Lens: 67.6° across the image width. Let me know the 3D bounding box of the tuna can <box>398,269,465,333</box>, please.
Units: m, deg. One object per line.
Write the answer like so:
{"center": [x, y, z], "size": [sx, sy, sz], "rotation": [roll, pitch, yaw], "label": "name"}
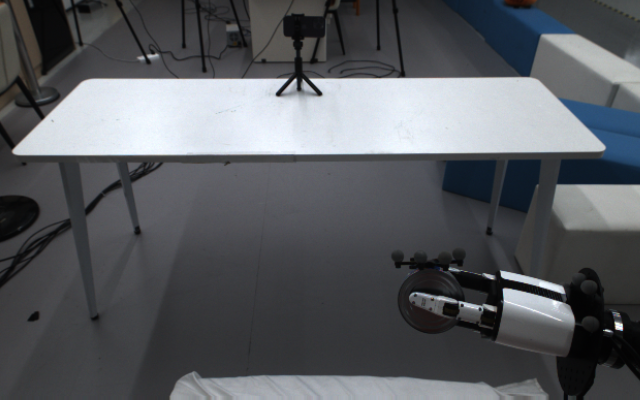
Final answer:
{"center": [0.149, 0.130, 0.641], "size": [0.085, 0.085, 0.034], "rotation": [11, 1, 12], "label": "tuna can"}
